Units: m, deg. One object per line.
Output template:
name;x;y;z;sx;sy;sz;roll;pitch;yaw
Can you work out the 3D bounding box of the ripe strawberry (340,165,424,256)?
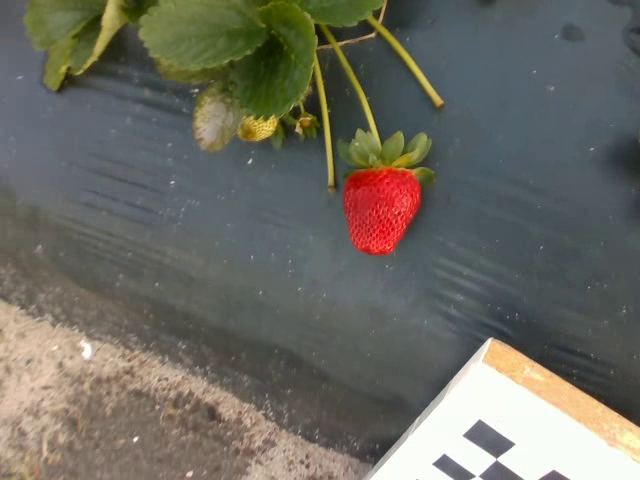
ripe strawberry;0.030;-0.014;0.313;0.045;0.055;0.042;-8;-34;44
